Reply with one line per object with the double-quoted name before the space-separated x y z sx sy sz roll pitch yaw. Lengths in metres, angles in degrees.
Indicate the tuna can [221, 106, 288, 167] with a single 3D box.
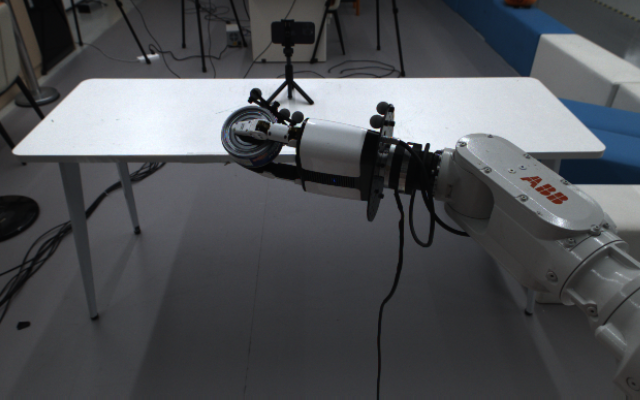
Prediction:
"tuna can" -0.094 -0.086 0.691 0.085 0.034 0.085 -4 69 10
